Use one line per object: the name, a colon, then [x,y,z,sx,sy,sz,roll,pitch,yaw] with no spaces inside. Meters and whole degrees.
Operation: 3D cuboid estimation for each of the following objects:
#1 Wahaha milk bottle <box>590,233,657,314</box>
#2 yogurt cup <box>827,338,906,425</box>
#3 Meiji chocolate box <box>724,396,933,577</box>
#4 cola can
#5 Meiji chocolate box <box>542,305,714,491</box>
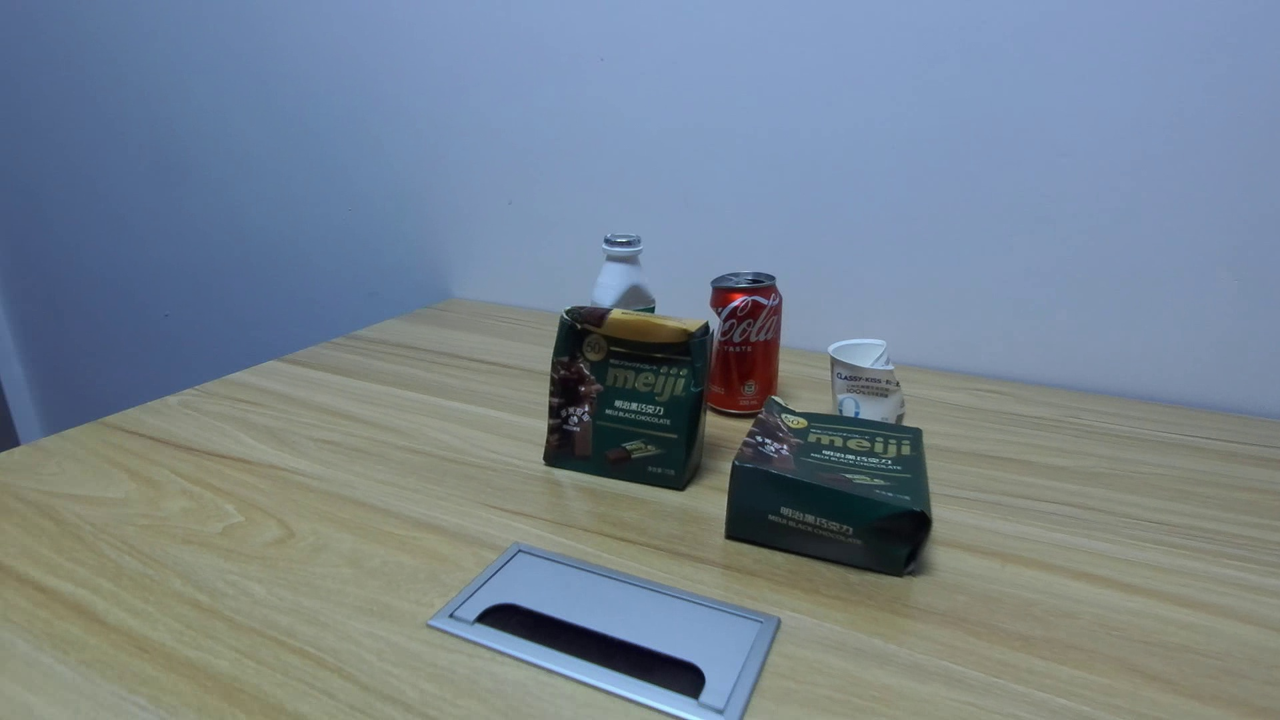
Wahaha milk bottle: [-0.015,-0.032,0.609,0.056,0.147,0.056,1,20,0]
yogurt cup: [0.181,0.027,0.567,0.067,0.070,0.067,0,22,0]
Meiji chocolate box: [0.122,0.078,0.450,0.115,0.058,0.123,10,22,18]
cola can: [0.090,-0.014,0.610,0.065,0.117,0.072,7,21,13]
Meiji chocolate box: [-0.007,0.024,0.508,0.117,0.117,0.052,8,13,18]
